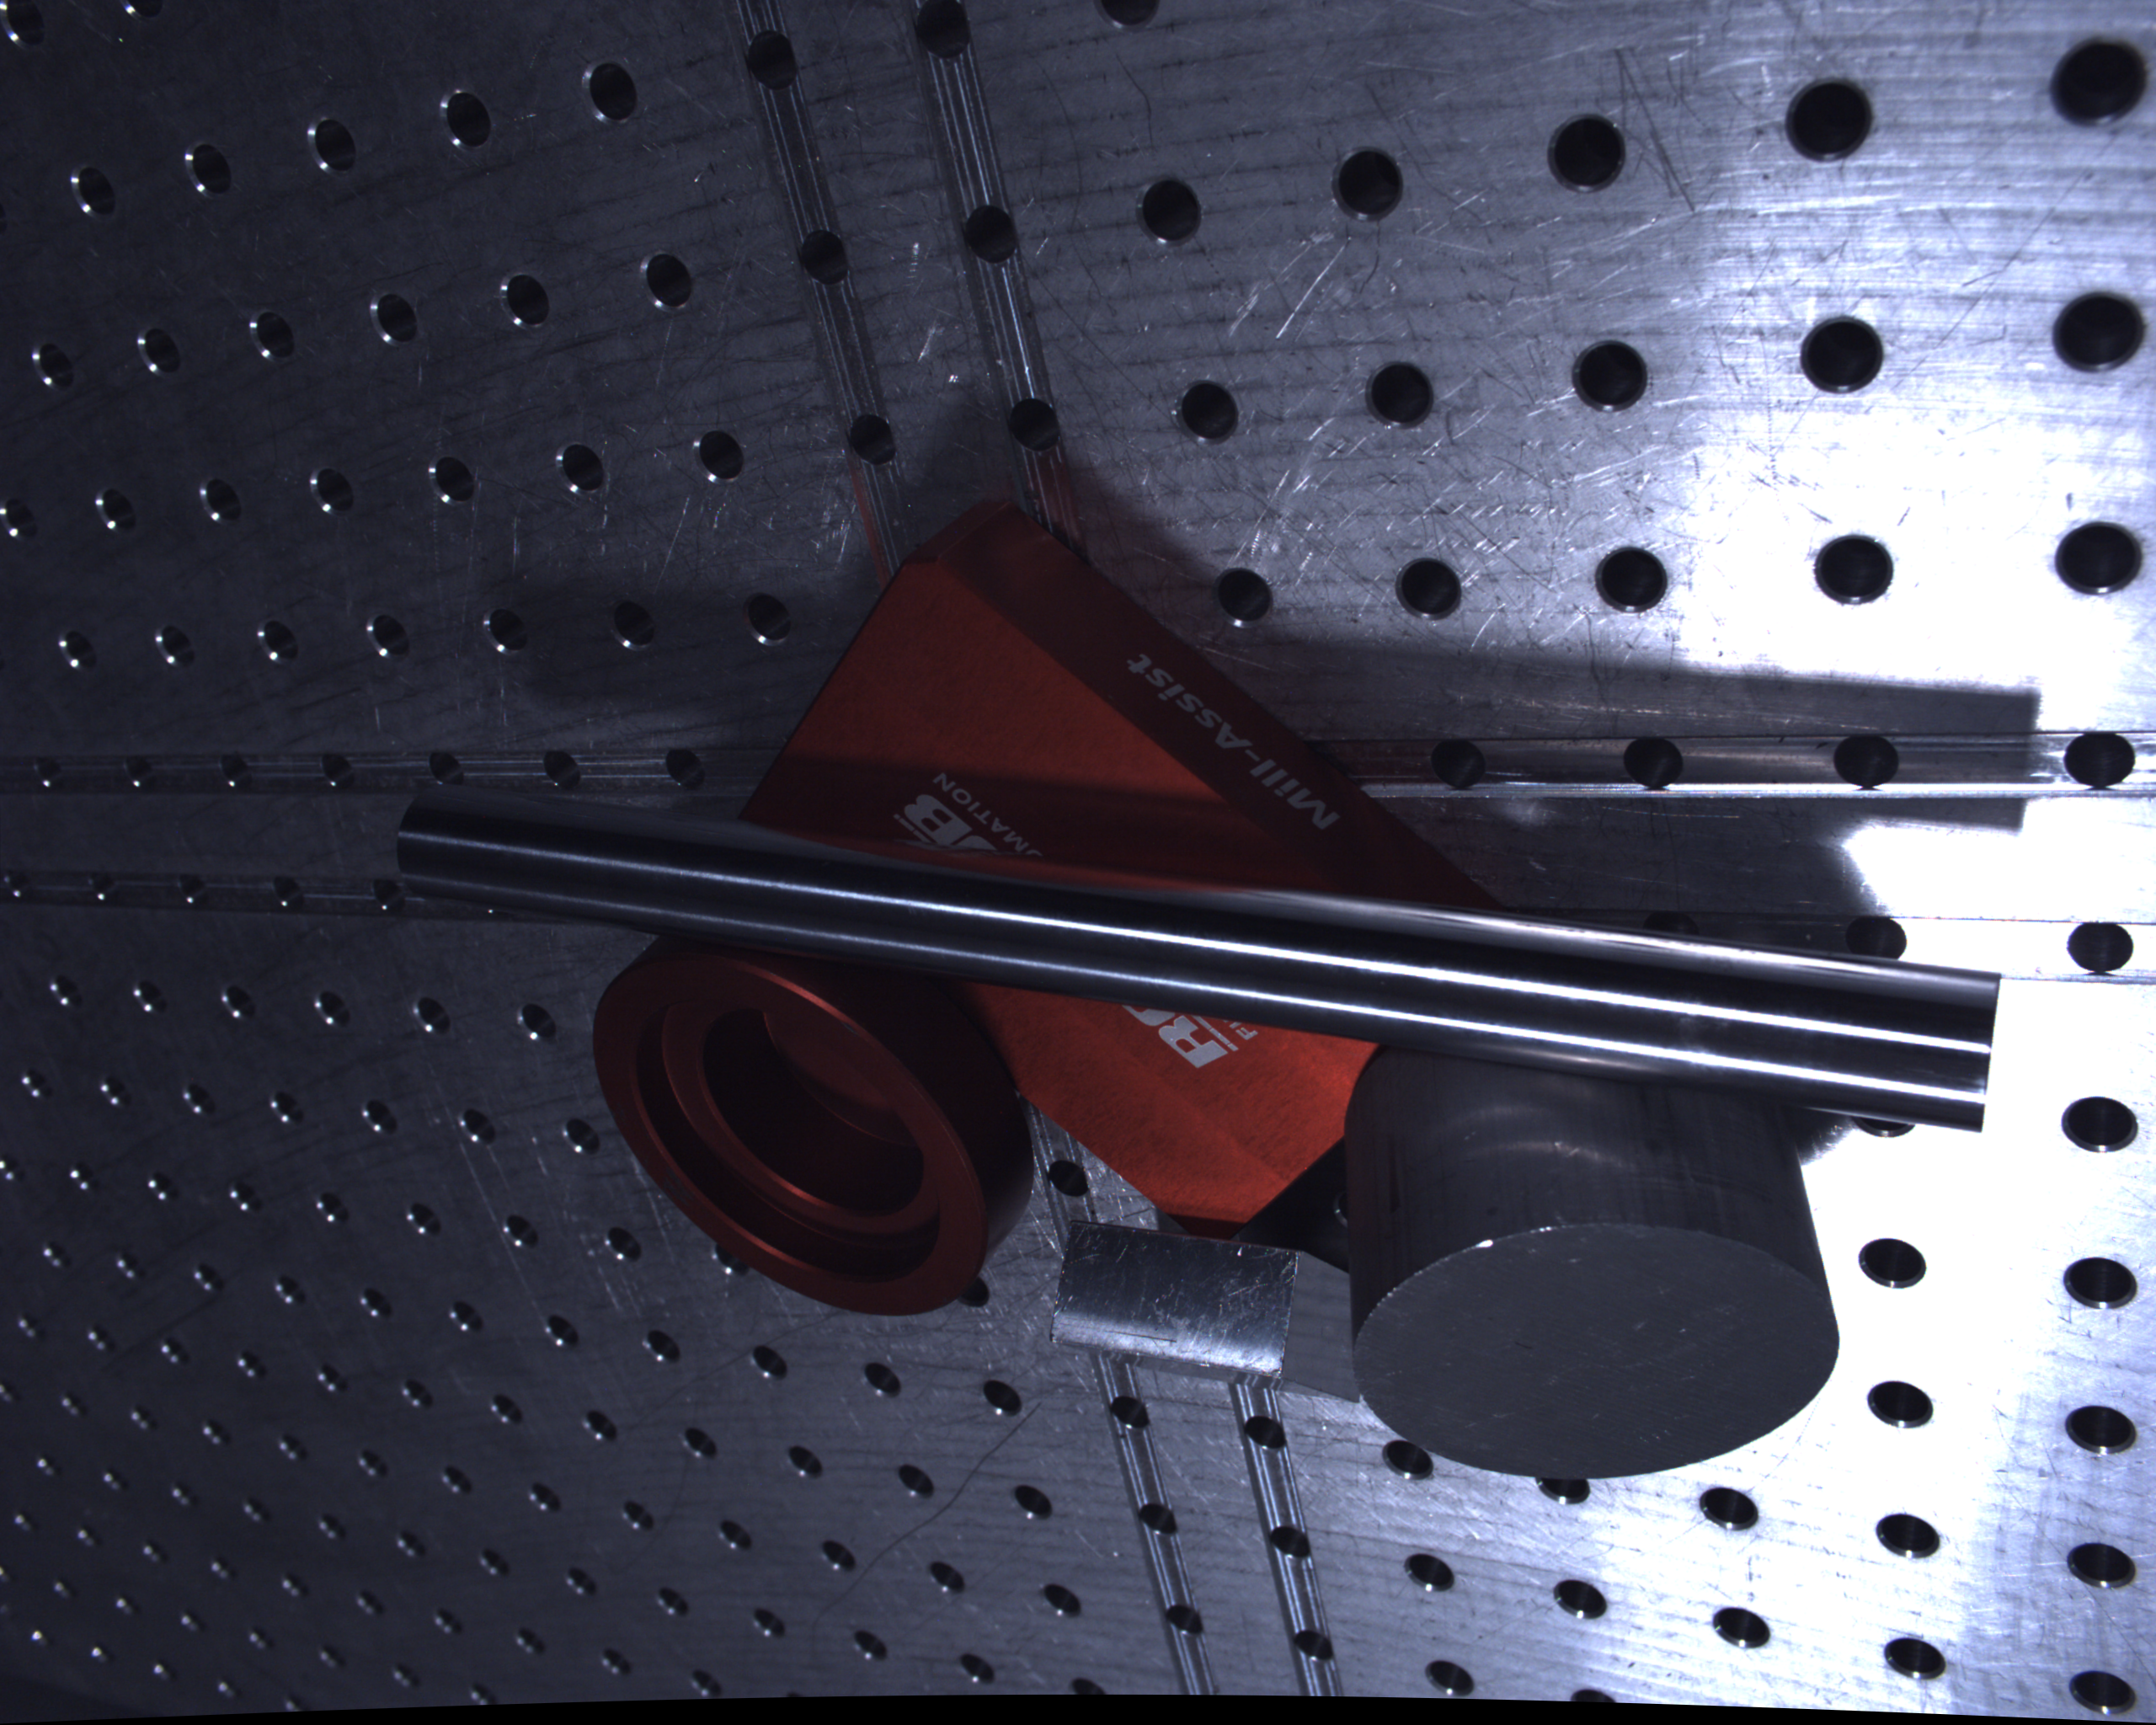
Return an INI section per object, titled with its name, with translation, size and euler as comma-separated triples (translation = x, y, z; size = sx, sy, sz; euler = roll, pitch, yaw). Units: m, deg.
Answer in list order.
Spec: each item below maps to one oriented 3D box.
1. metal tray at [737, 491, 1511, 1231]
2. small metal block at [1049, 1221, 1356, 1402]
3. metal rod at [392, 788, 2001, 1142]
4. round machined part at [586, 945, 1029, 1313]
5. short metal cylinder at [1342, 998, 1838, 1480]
[metal tray]
translation = 0.006, 0.002, 0.406
size = 0.130, 0.030, 0.089
euler = 40, 129, 0
[small metal block]
translation = 0.029, 0.094, 0.435
size = 0.050, 0.025, 0.050
euler = 2, 163, 26
[metal rod]
translation = 0.002, 0.013, 0.377
size = 0.301, 0.025, 0.025
euler = 7, 122, 24
[round machined part]
translation = -0.053, 0.047, 0.449
size = 0.098, 0.042, 0.097
euler = 18, 133, 21
[short metal cylinder]
translation = 0.088, 0.067, 0.370
size = 0.080, 0.050, 0.079
euler = 2, 135, 2
